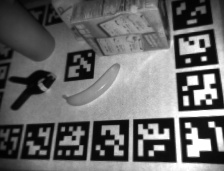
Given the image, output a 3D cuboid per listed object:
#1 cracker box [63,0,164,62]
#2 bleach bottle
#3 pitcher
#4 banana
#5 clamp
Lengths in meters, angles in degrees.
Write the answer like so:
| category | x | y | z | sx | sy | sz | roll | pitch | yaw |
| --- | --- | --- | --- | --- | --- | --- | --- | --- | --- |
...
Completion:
| category | x | y | z | sx | sy | sz | roll | pitch | yaw |
| --- | --- | --- | --- | --- | --- | --- | --- | --- | --- |
| cracker box | 0.011 | -0.126 | 0.549 | 0.211 | 0.166 | 0.072 | 2 | 68 | 24 |
| bleach bottle | -0.130 | -0.207 | 0.605 | 0.101 | 0.254 | 0.068 | 0 | 69 | 23 |
| pitcher | -0.316 | -0.178 | 0.644 | 0.188 | 0.245 | 0.132 | -17 | 63 | 13 |
| banana | -0.077 | 0.017 | 0.626 | 0.197 | 0.039 | 0.073 | -32 | 61 | 8 |
| clamp | -0.279 | -0.010 | 0.707 | 0.164 | 0.037 | 0.121 | -15 | 64 | 14 |
